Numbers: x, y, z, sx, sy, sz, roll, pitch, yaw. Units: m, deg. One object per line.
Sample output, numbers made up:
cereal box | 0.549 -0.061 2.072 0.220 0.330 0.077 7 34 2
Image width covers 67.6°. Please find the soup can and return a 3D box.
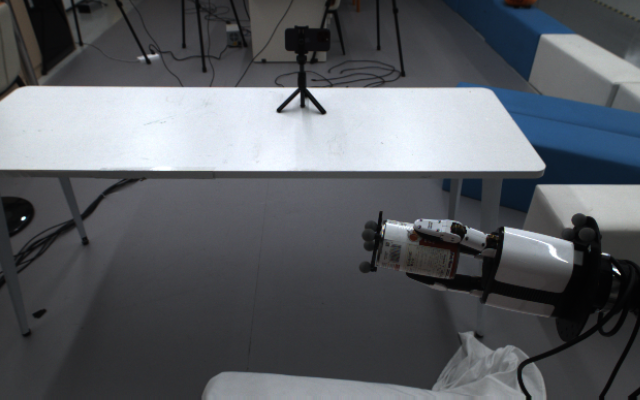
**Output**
soup can | 0.134 0.065 0.651 0.101 0.067 0.067 9 35 9
